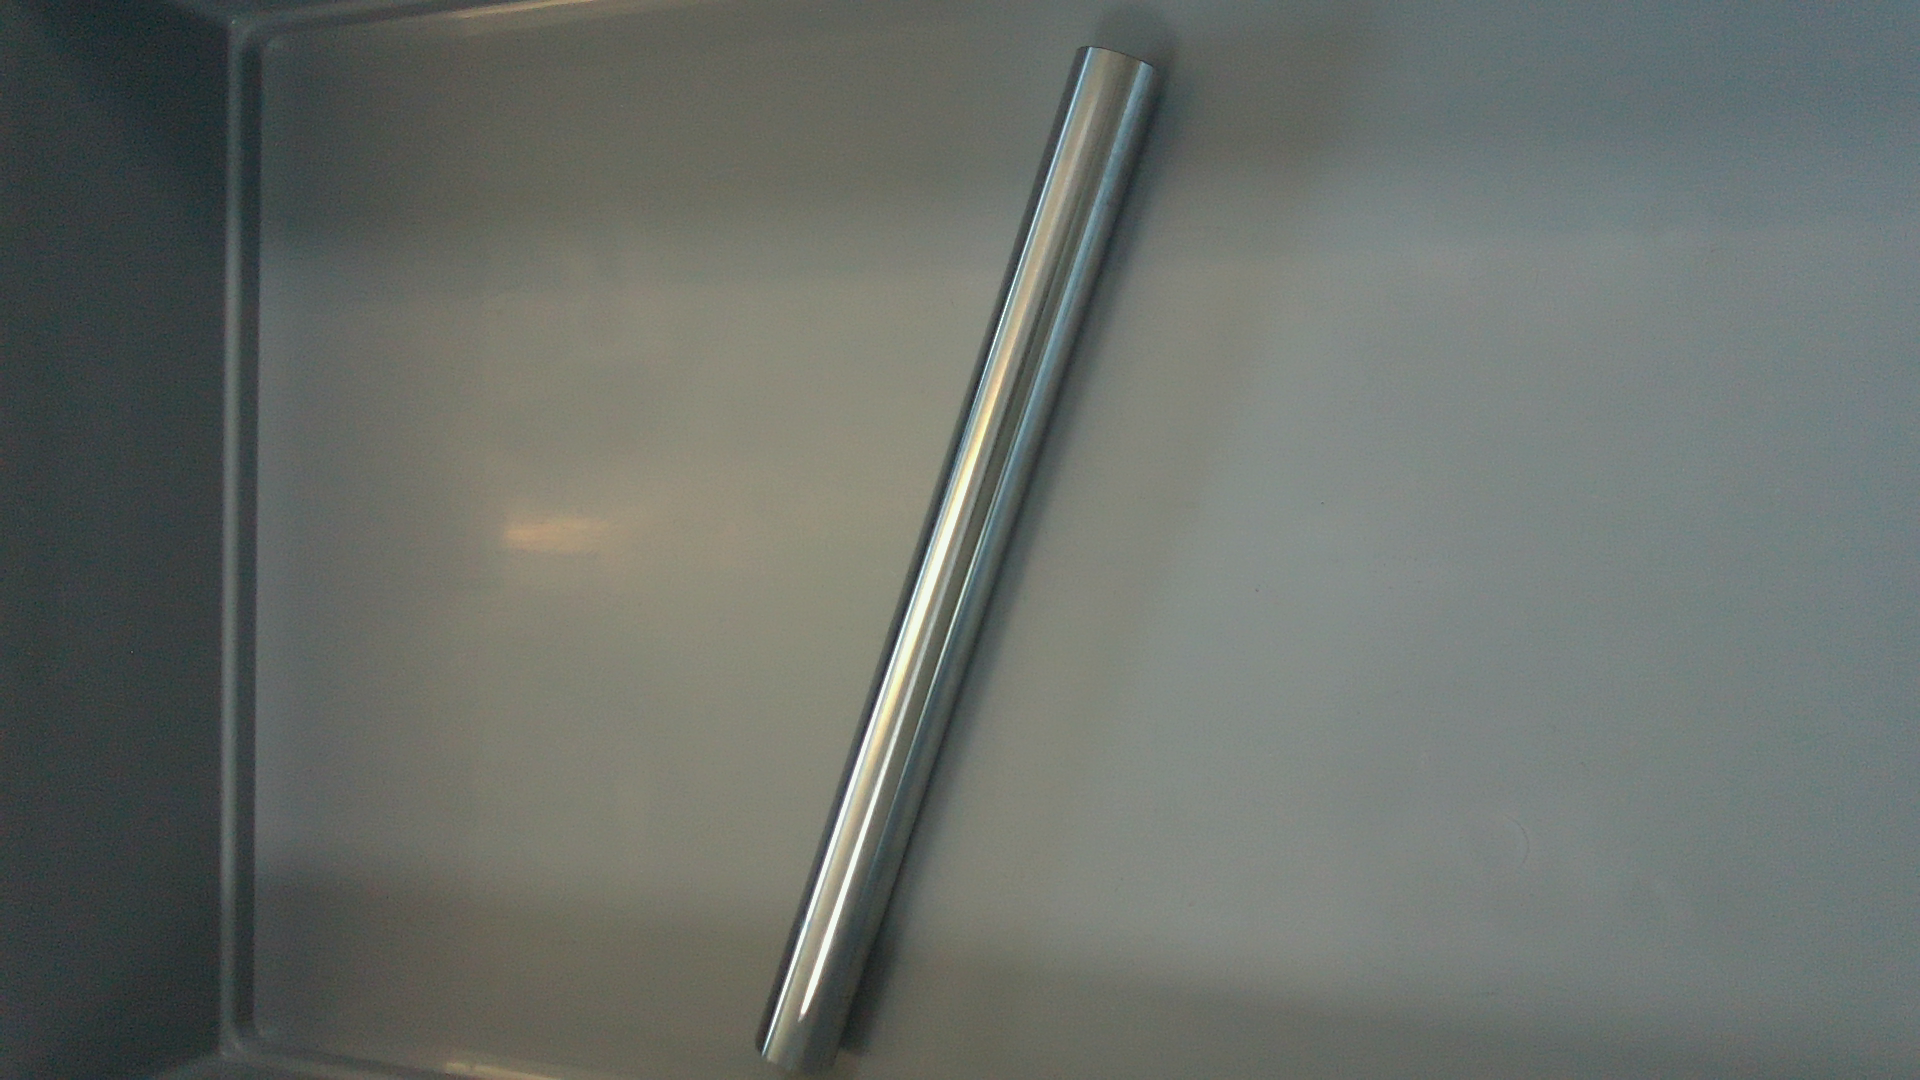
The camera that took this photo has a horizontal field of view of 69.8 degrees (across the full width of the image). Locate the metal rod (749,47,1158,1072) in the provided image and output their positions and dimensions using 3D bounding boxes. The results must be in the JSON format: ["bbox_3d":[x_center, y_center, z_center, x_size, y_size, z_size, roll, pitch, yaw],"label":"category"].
[{"bbox_3d":[-0.004,0.011,0.395,0.025,0.025,0.300,21,97,19],"label":"metal rod"}]
